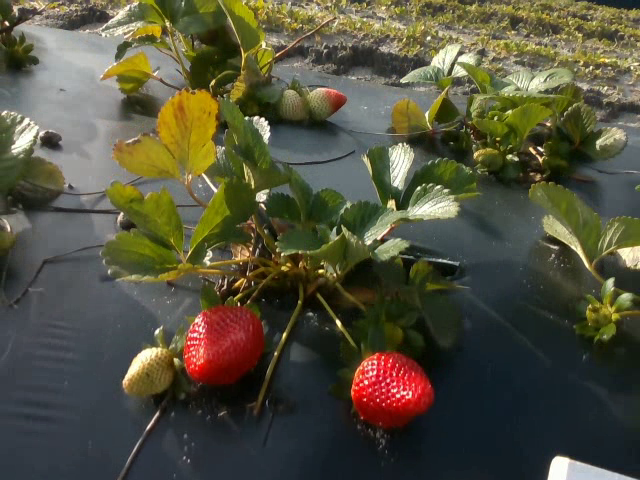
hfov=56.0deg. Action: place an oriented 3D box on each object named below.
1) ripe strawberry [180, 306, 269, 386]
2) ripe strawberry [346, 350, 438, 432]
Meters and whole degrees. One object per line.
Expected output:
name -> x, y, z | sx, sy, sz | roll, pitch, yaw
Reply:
ripe strawberry -> -0.037, 0.038, 0.227 | 0.035, 0.041, 0.036 | -1, 9, 7
ripe strawberry -> 0.031, 0.053, 0.222 | 0.033, 0.038, 0.039 | 27, -2, -10
